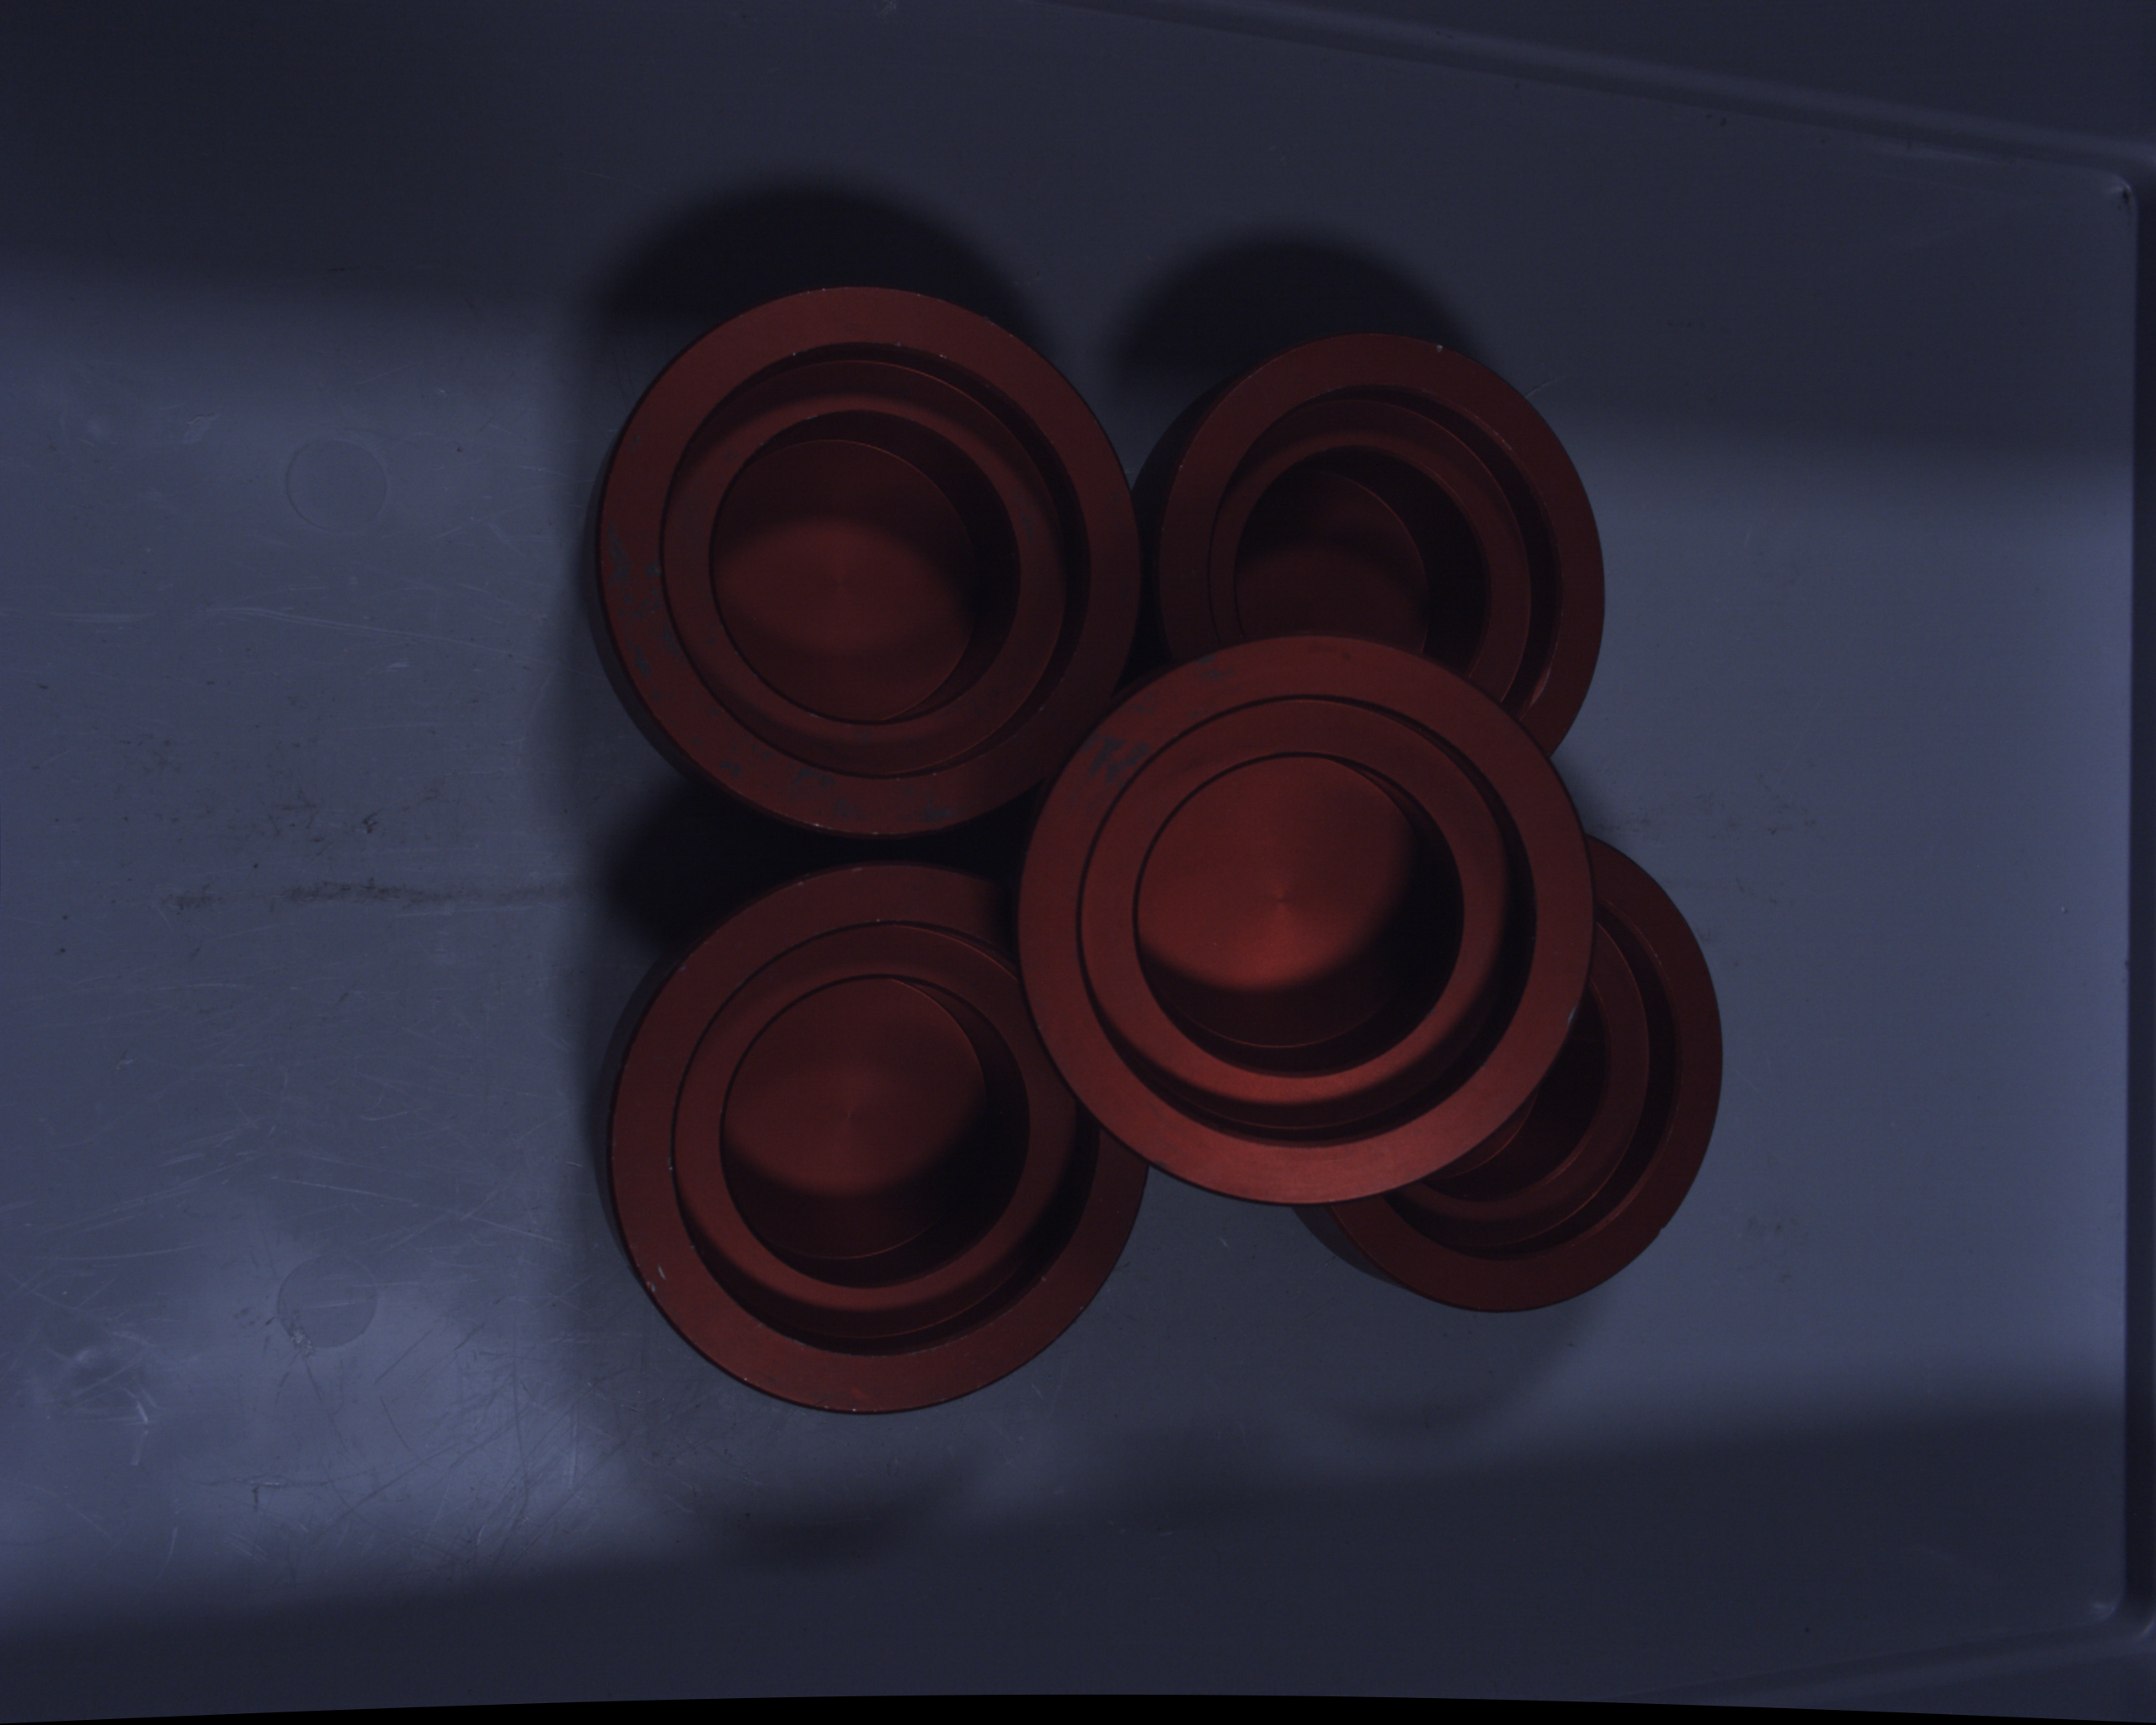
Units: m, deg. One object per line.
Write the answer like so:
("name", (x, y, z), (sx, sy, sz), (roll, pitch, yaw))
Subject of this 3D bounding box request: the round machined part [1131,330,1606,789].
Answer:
("round machined part", (0.053, -0.054, 0.420), (0.099, 0.042, 0.097), (0, 90, -21))

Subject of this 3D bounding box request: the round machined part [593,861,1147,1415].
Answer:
("round machined part", (-0.040, 0.048, 0.386), (0.099, 0.042, 0.097), (0, 90, -21))

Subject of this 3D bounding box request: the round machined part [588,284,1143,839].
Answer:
("round machined part", (-0.041, -0.053, 0.385), (0.099, 0.042, 0.097), (0, 90, -21))

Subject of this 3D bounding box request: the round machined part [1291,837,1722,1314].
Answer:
("round machined part", (0.079, 0.040, 0.431), (0.099, 0.042, 0.097), (0, 90, -21))

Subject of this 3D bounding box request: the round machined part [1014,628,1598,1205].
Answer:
("round machined part", (0.038, 0.008, 0.370), (0.099, 0.042, 0.097), (0, 95, -2))
